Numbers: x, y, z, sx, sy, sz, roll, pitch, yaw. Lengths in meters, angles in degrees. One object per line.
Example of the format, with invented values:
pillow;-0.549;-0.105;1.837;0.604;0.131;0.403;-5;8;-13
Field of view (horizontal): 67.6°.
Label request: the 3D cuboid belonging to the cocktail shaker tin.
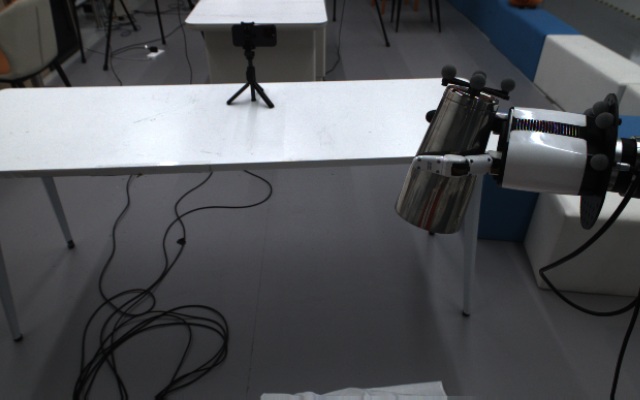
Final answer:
cocktail shaker tin;0.167;-0.056;0.618;0.093;0.170;0.093;12;24;-5
